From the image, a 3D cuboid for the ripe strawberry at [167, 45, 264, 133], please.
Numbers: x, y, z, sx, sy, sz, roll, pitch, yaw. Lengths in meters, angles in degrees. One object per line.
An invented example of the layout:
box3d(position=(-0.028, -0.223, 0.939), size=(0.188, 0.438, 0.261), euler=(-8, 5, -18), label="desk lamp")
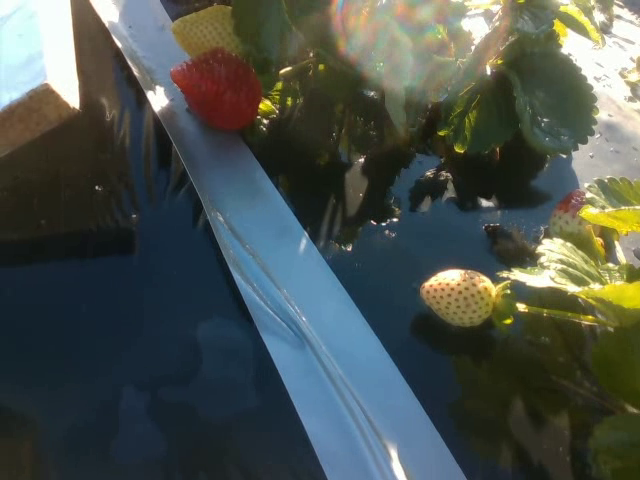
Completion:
box3d(position=(-0.054, -0.078, 0.303), size=(0.045, 0.049, 0.063), euler=(-5, 0, 24), label="ripe strawberry")
